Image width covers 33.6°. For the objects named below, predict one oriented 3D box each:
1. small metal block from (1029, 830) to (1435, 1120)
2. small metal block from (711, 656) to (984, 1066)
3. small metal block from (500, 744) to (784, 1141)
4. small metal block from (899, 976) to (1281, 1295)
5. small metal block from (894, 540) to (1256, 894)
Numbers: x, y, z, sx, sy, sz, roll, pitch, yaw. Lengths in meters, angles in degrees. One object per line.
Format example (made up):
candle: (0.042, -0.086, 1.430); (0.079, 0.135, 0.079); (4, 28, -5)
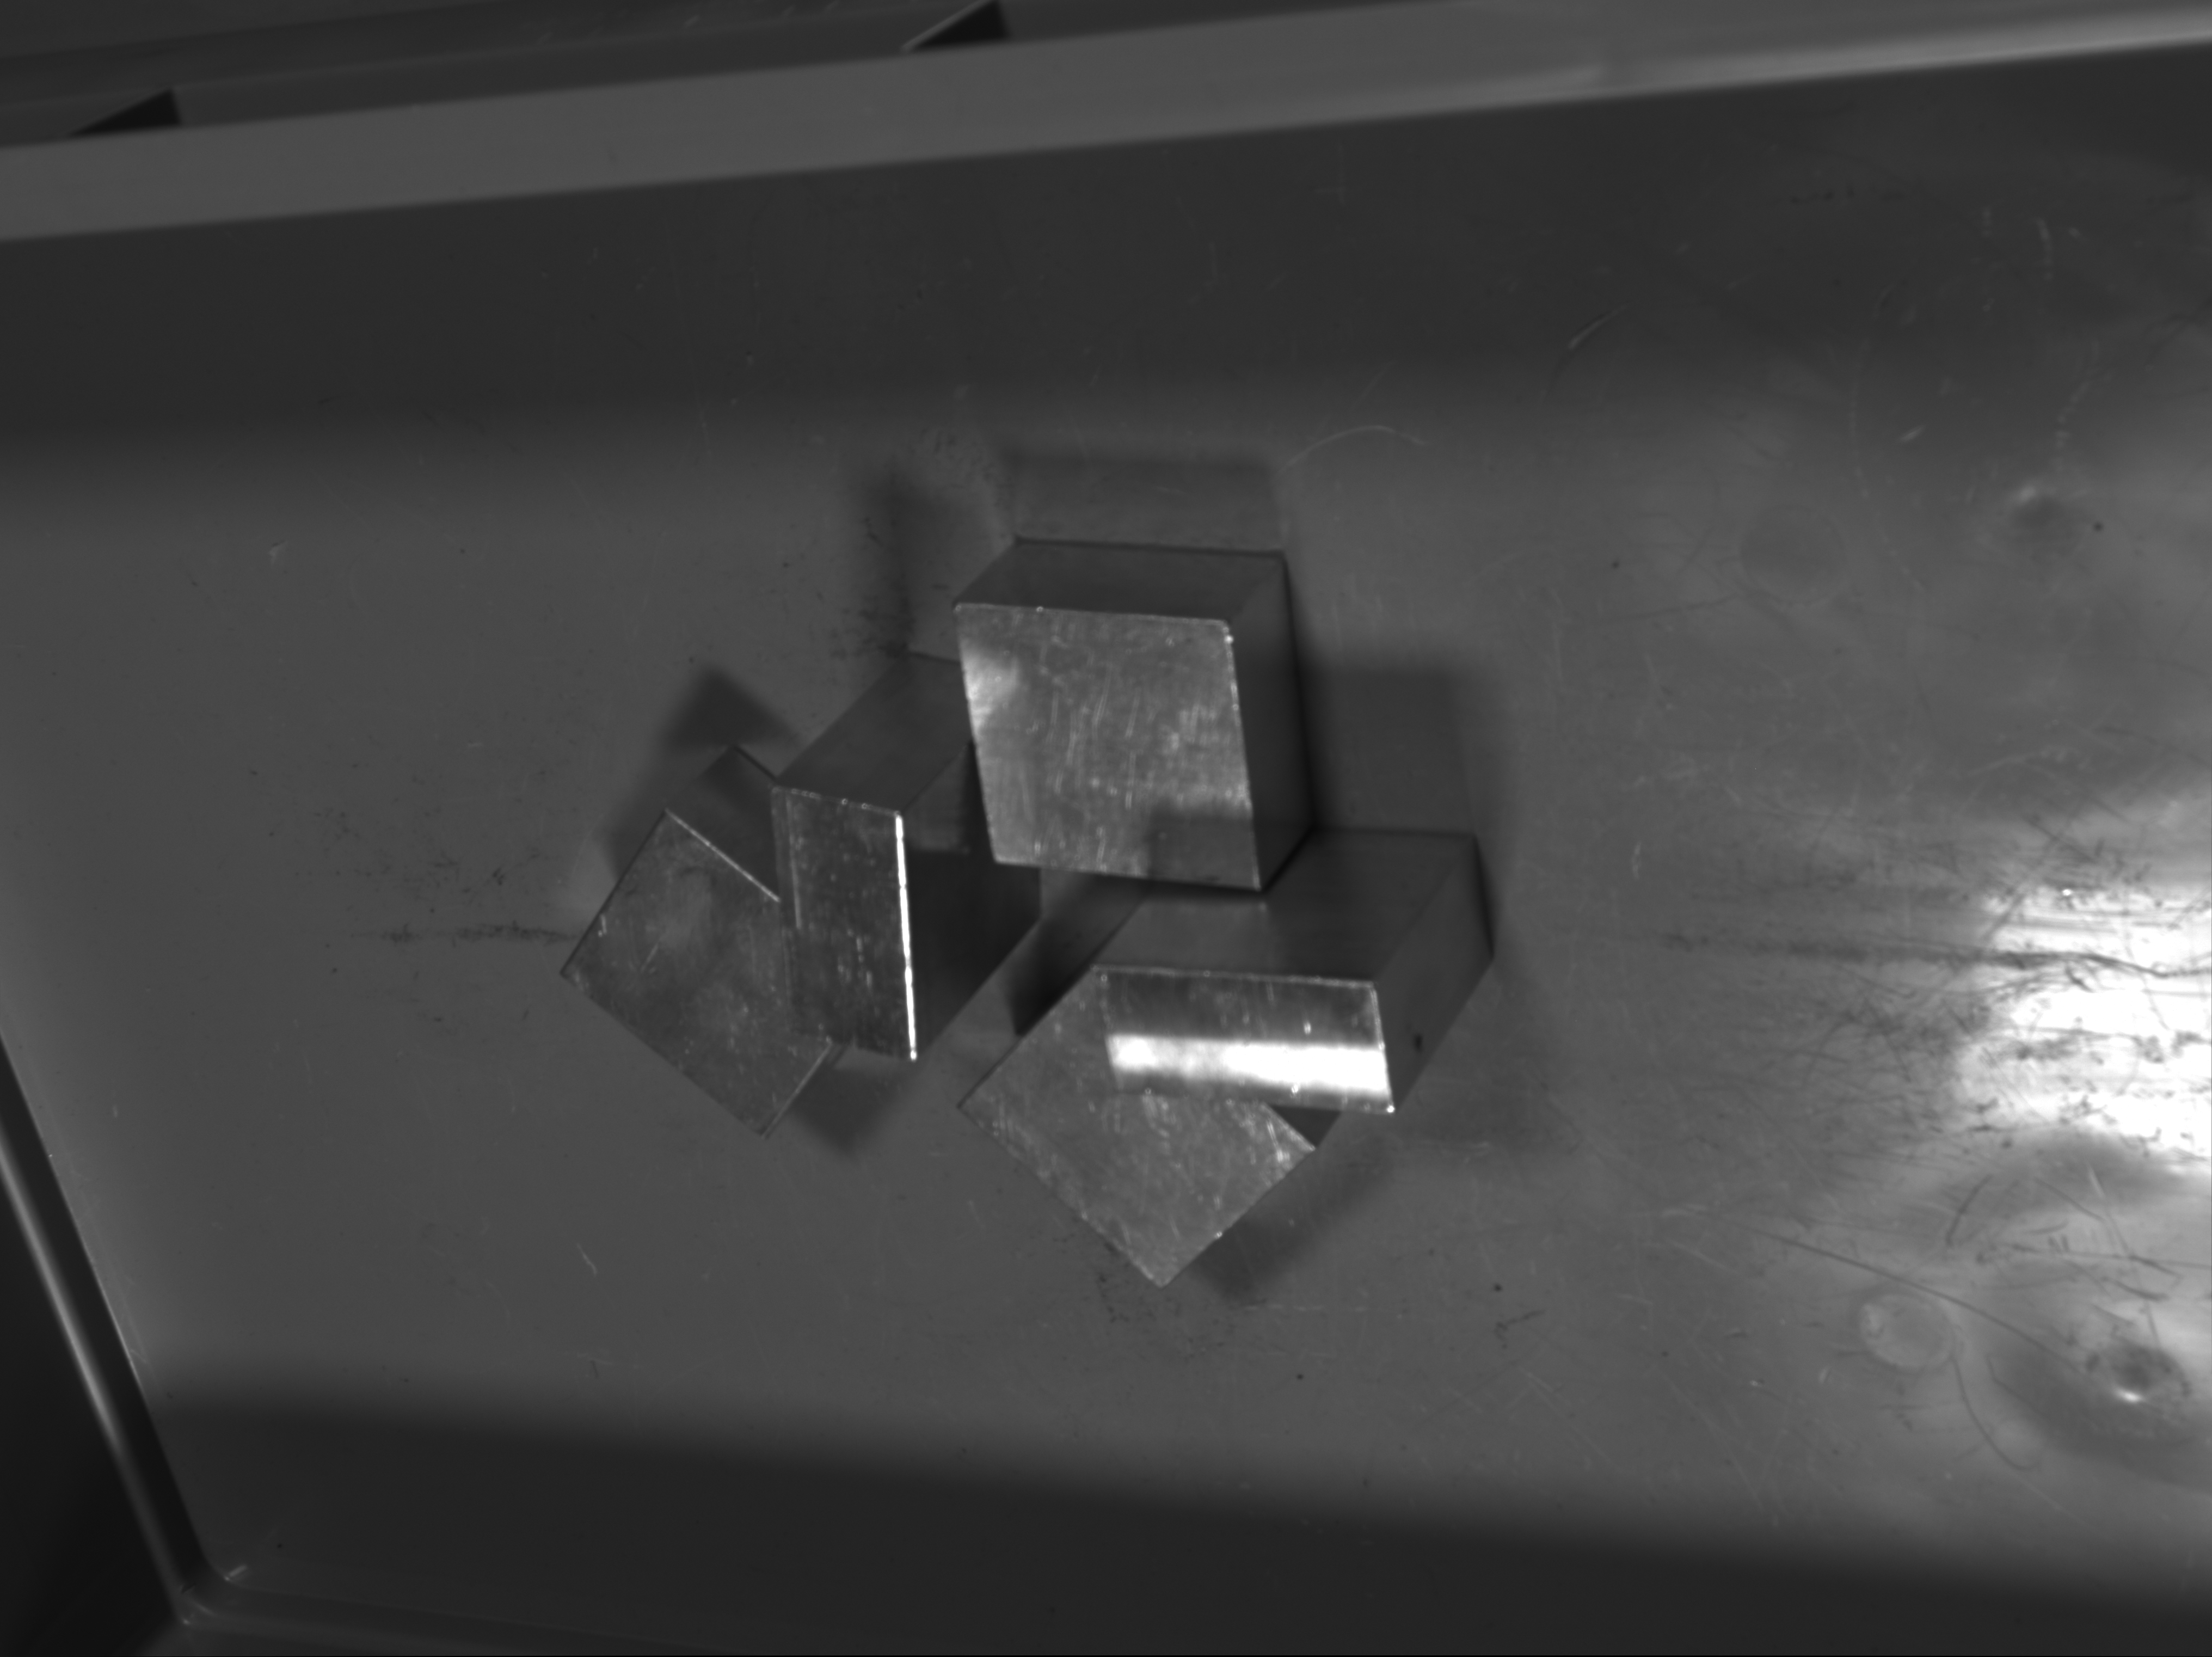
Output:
small metal block: (0.022, 0.023, 0.616); (0.050, 0.050, 0.025); (3, 119, 25)
small metal block: (-0.044, 0.005, 0.638); (0.025, 0.050, 0.050); (12, 123, 20)
small metal block: (-0.077, 0.022, 0.681); (0.050, 0.025, 0.050); (39, 128, 1)
small metal block: (-0.001, 0.048, 0.658); (0.050, 0.025, 0.050); (42, 128, -2)
small metal block: (-0.005, -0.019, 0.620); (0.050, 0.025, 0.050); (6, 121, 24)
